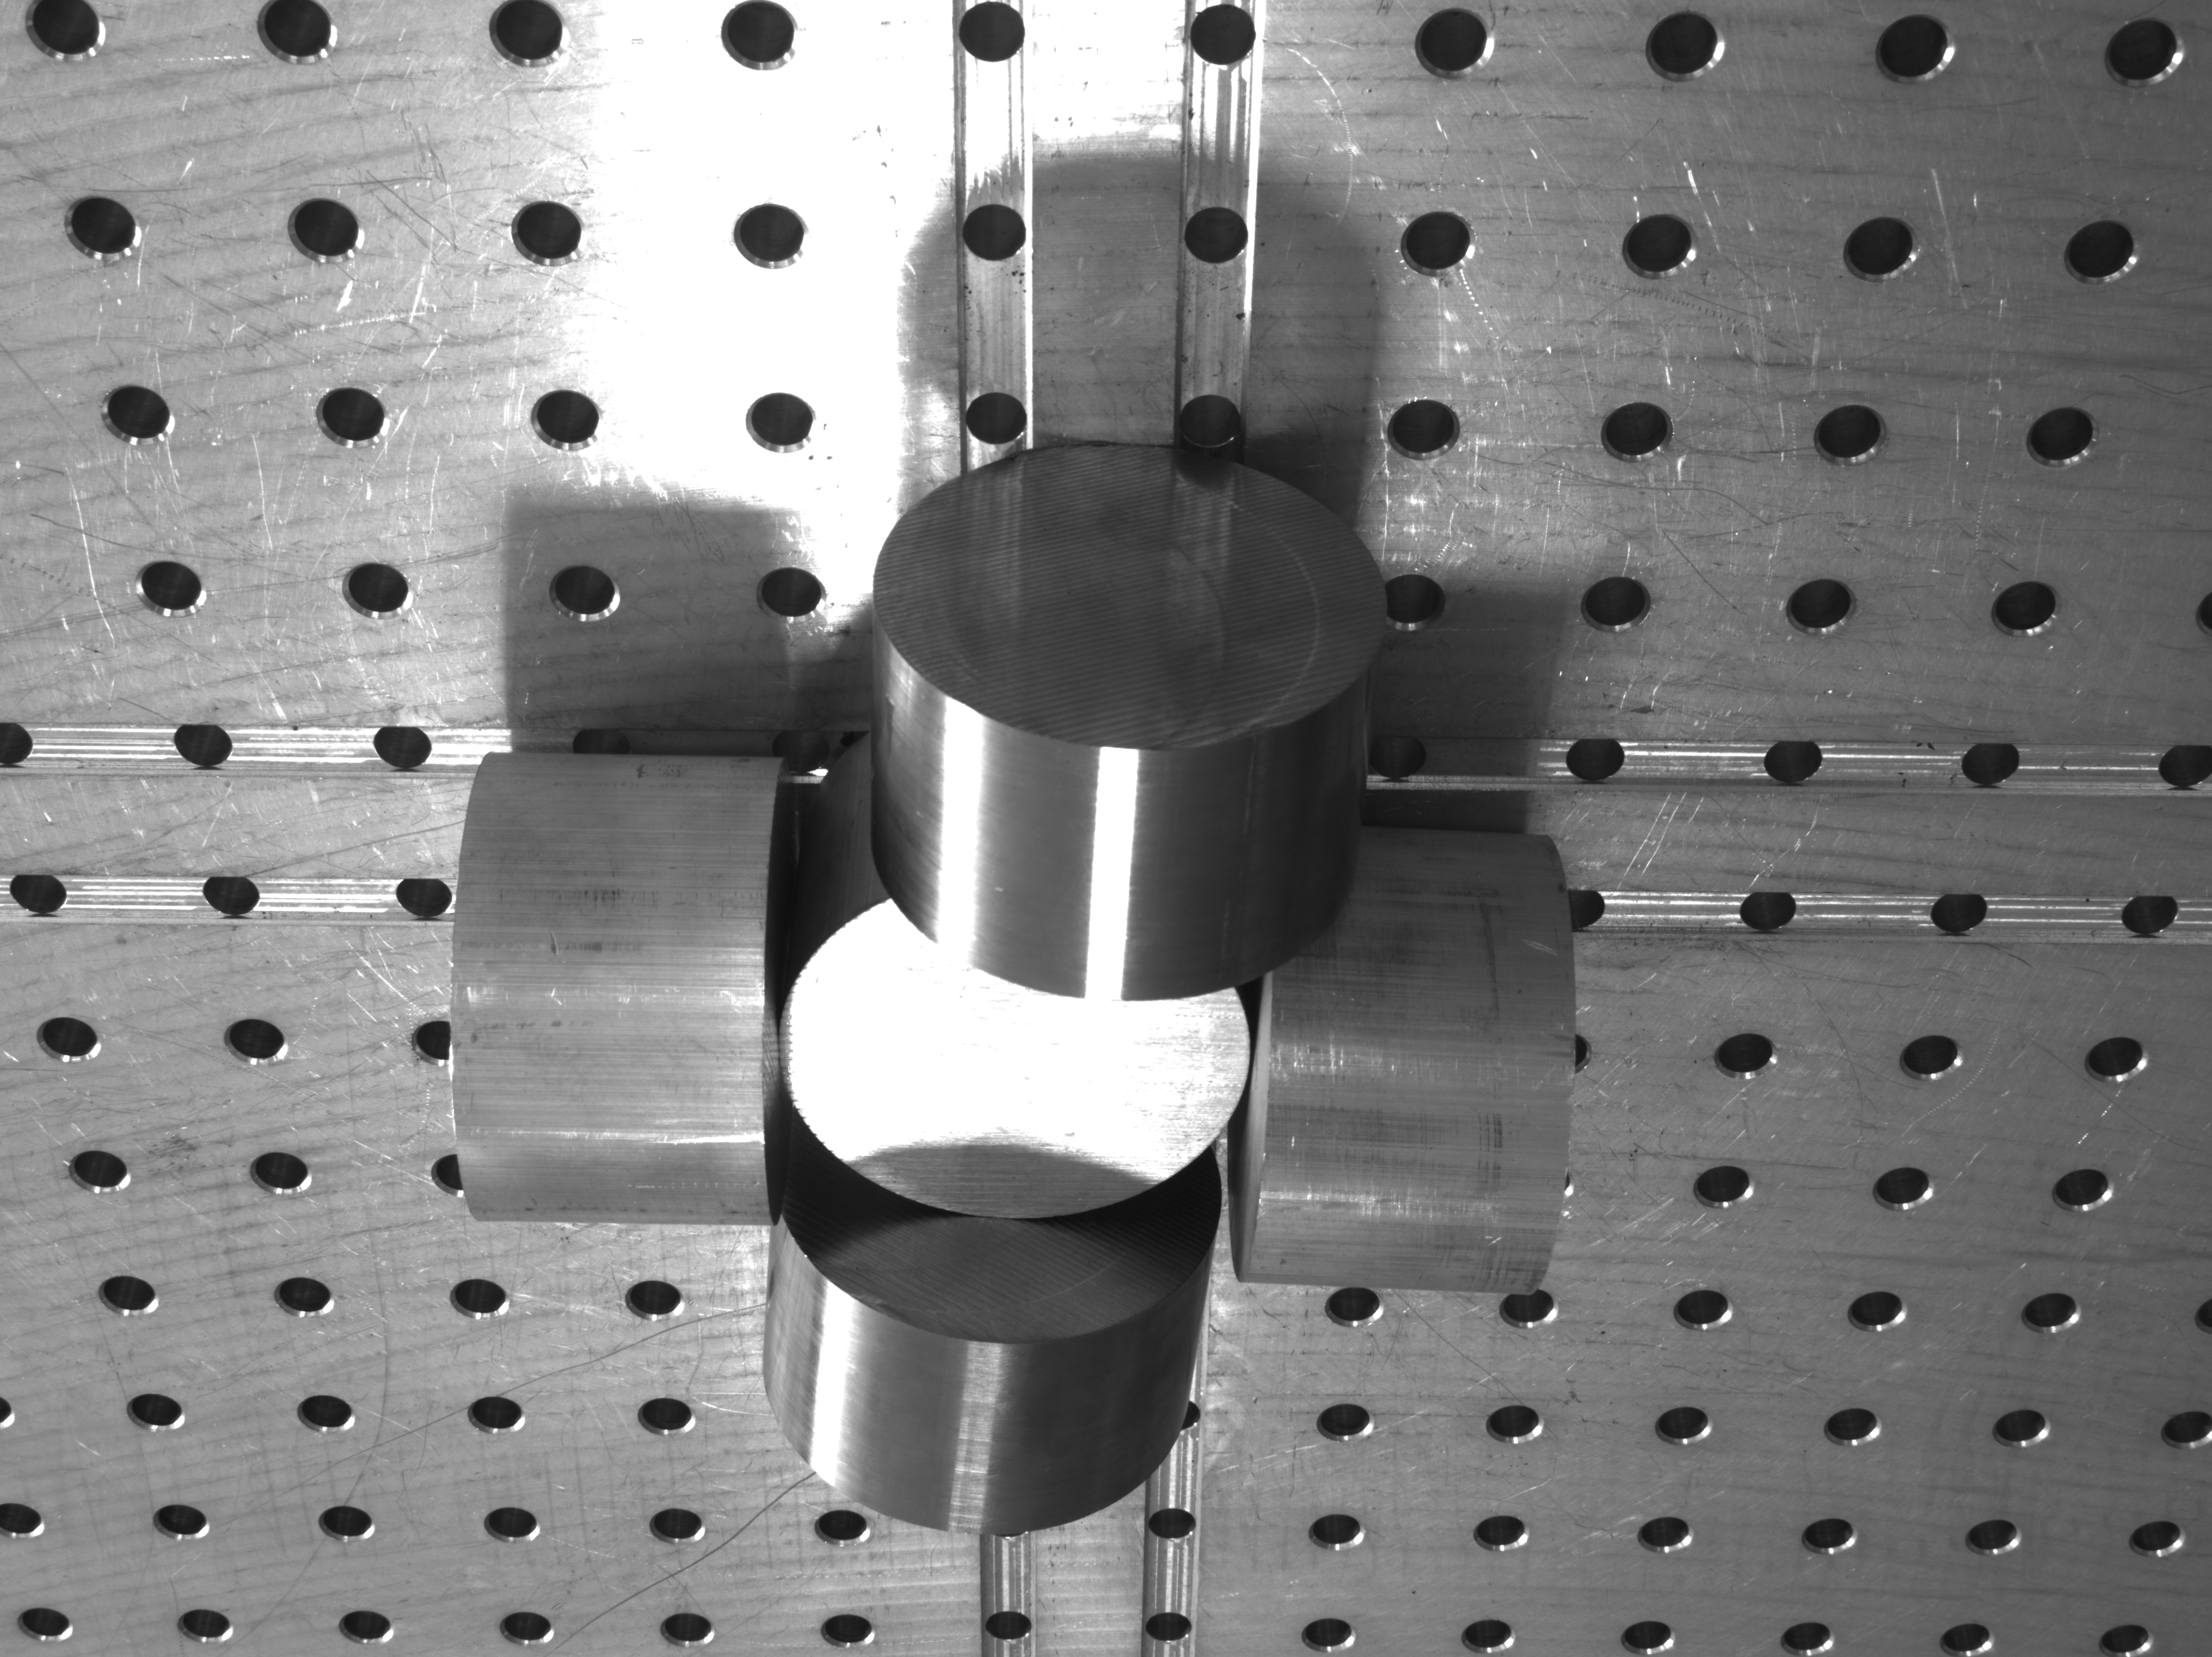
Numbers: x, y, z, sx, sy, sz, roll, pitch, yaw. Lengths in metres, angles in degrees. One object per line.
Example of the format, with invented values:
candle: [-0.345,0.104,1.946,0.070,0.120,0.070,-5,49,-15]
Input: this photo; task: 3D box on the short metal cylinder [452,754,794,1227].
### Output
short metal cylinder: [-0.080,0.028,0.629,0.050,0.080,0.080,1,130,-1]

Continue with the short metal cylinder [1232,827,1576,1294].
short metal cylinder: [0.050,0.040,0.640,0.050,0.080,0.080,3,130,-3]

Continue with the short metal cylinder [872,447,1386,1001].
short metal cylinder: [0.003,-0.018,0.591,0.080,0.080,0.050,2,130,-2]

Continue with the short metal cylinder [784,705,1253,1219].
short metal cylinder: [-0.015,0.022,0.645,0.080,0.050,0.080,-1,130,-1]

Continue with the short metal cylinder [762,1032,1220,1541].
short metal cylinder: [-0.022,0.083,0.674,0.080,0.080,0.050,5,129,-4]
